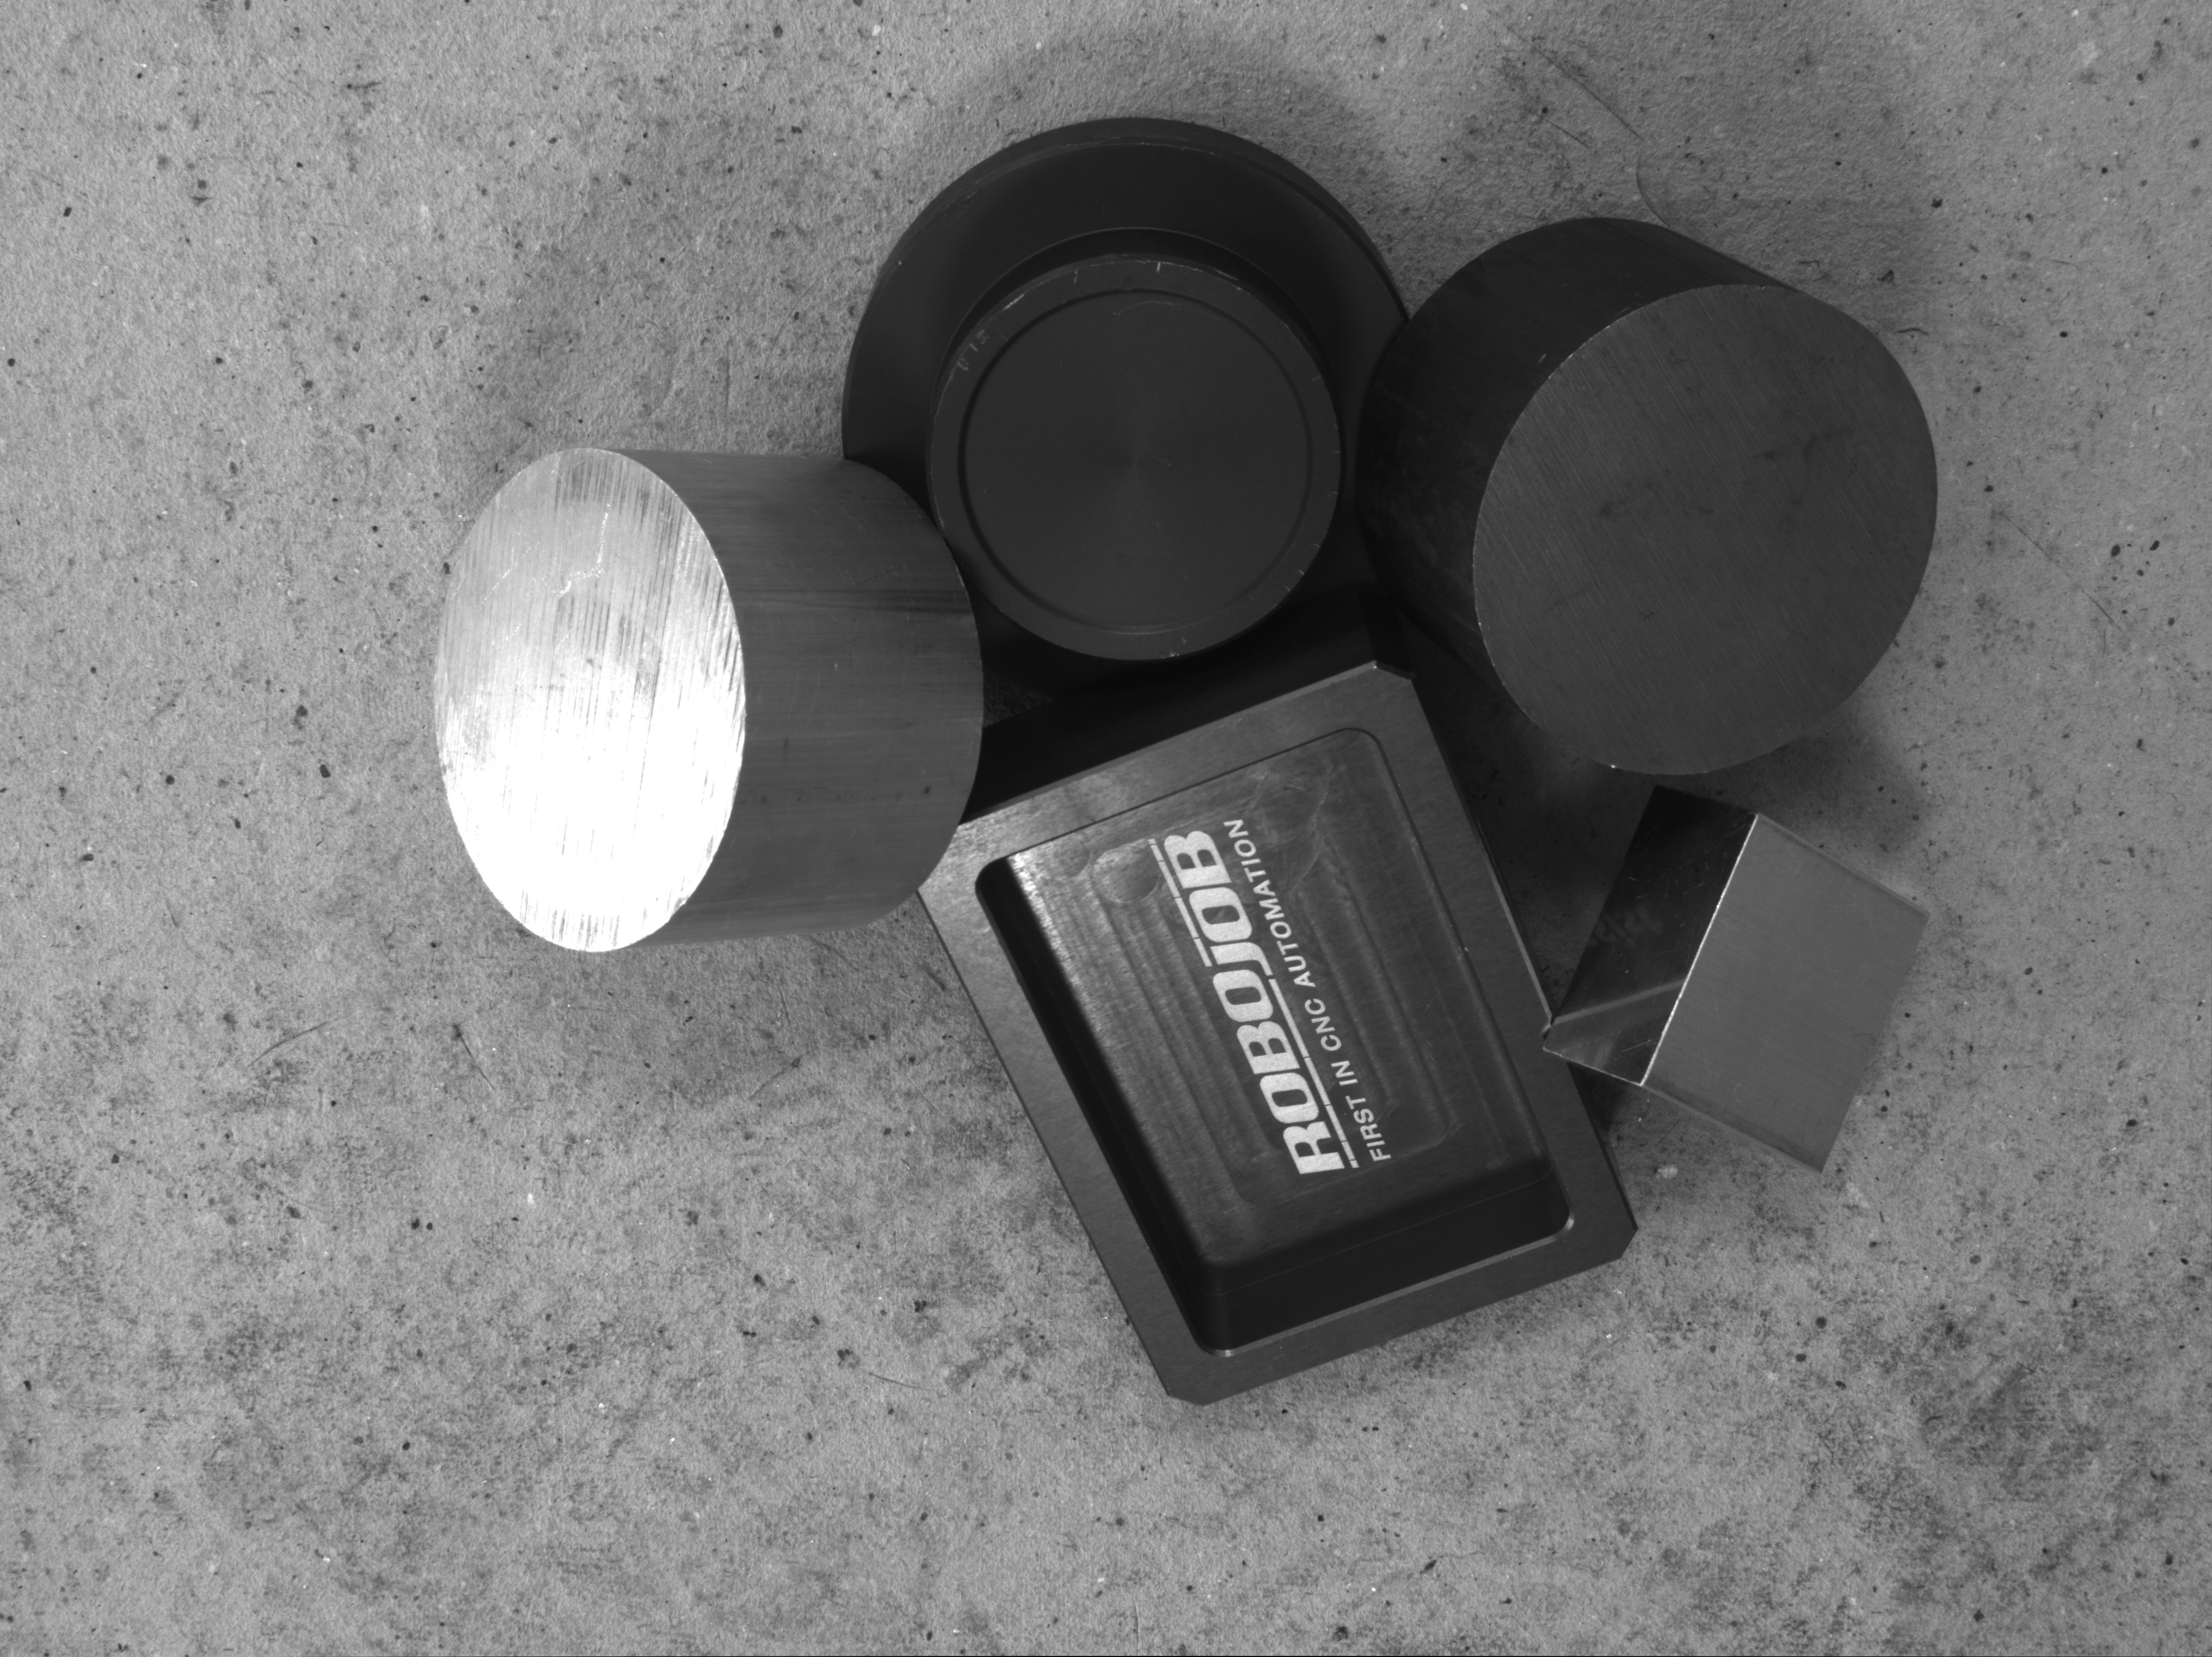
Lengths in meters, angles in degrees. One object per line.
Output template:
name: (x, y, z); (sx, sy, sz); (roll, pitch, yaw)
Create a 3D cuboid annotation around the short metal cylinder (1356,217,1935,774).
short metal cylinder: (0.087, -0.055, 0.600); (0.080, 0.050, 0.080); (-7, 113, -16)

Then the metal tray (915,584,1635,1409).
metal tray: (0.029, 0.032, 0.641); (0.090, 0.030, 0.130); (-21, 118, 7)

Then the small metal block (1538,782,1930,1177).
small metal block: (0.109, 0.026, 0.635); (0.050, 0.025, 0.050); (27, 85, -37)

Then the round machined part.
round machined part: (0.005, -0.066, 0.612); (0.098, 0.042, 0.098); (0, 110, 0)

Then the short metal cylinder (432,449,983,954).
short metal cylinder: (-0.066, -0.021, 0.600); (0.050, 0.080, 0.080); (-4, 118, -46)
